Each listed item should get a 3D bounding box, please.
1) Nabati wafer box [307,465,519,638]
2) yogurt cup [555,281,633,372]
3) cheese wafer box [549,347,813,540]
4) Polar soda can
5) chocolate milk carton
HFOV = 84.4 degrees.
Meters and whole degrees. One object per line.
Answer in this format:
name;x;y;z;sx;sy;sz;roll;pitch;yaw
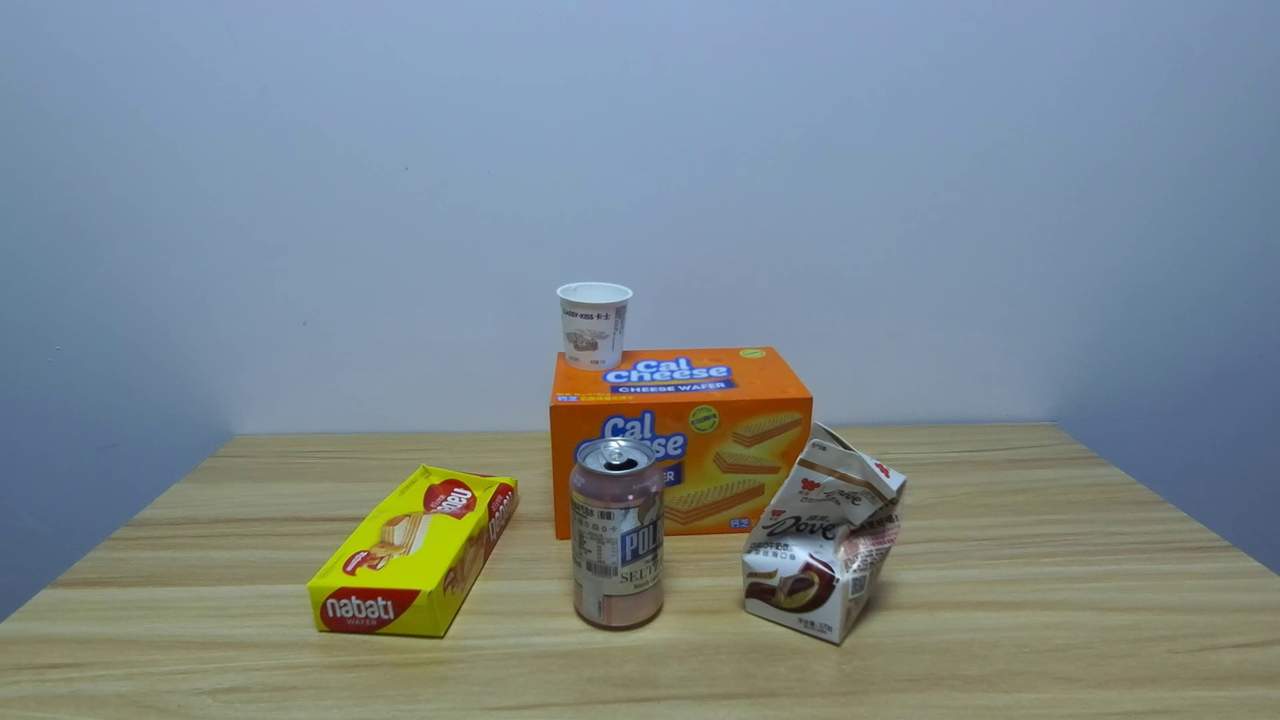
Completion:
Nabati wafer box;-0.172;0.144;0.580;0.096;0.042;0.203;0;17;7
yogurt cup;-0.043;-0.030;0.658;0.072;0.068;0.072;2;20;0
cheese wafer box;0.032;0.070;0.662;0.222;0.129;0.148;-1;20;-4
Polar soda can;-0.016;0.124;0.507;0.067;0.125;0.067;0;17;0
chocolate milk carton;0.131;0.118;0.495;0.089;0.155;0.077;23;31;20
